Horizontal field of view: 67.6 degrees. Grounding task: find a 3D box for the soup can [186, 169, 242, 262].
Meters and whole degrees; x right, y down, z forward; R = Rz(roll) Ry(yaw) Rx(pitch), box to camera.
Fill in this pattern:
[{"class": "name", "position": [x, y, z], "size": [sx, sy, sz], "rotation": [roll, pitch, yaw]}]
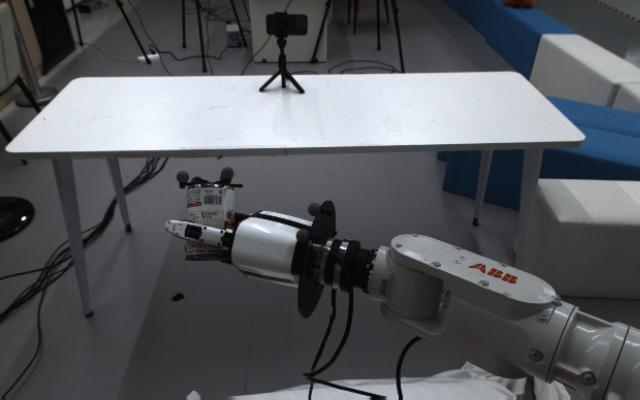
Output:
[{"class": "soup can", "position": [-0.153, 0.034, 0.677], "size": [0.067, 0.101, 0.067], "rotation": [-1, -9, 0]}]
